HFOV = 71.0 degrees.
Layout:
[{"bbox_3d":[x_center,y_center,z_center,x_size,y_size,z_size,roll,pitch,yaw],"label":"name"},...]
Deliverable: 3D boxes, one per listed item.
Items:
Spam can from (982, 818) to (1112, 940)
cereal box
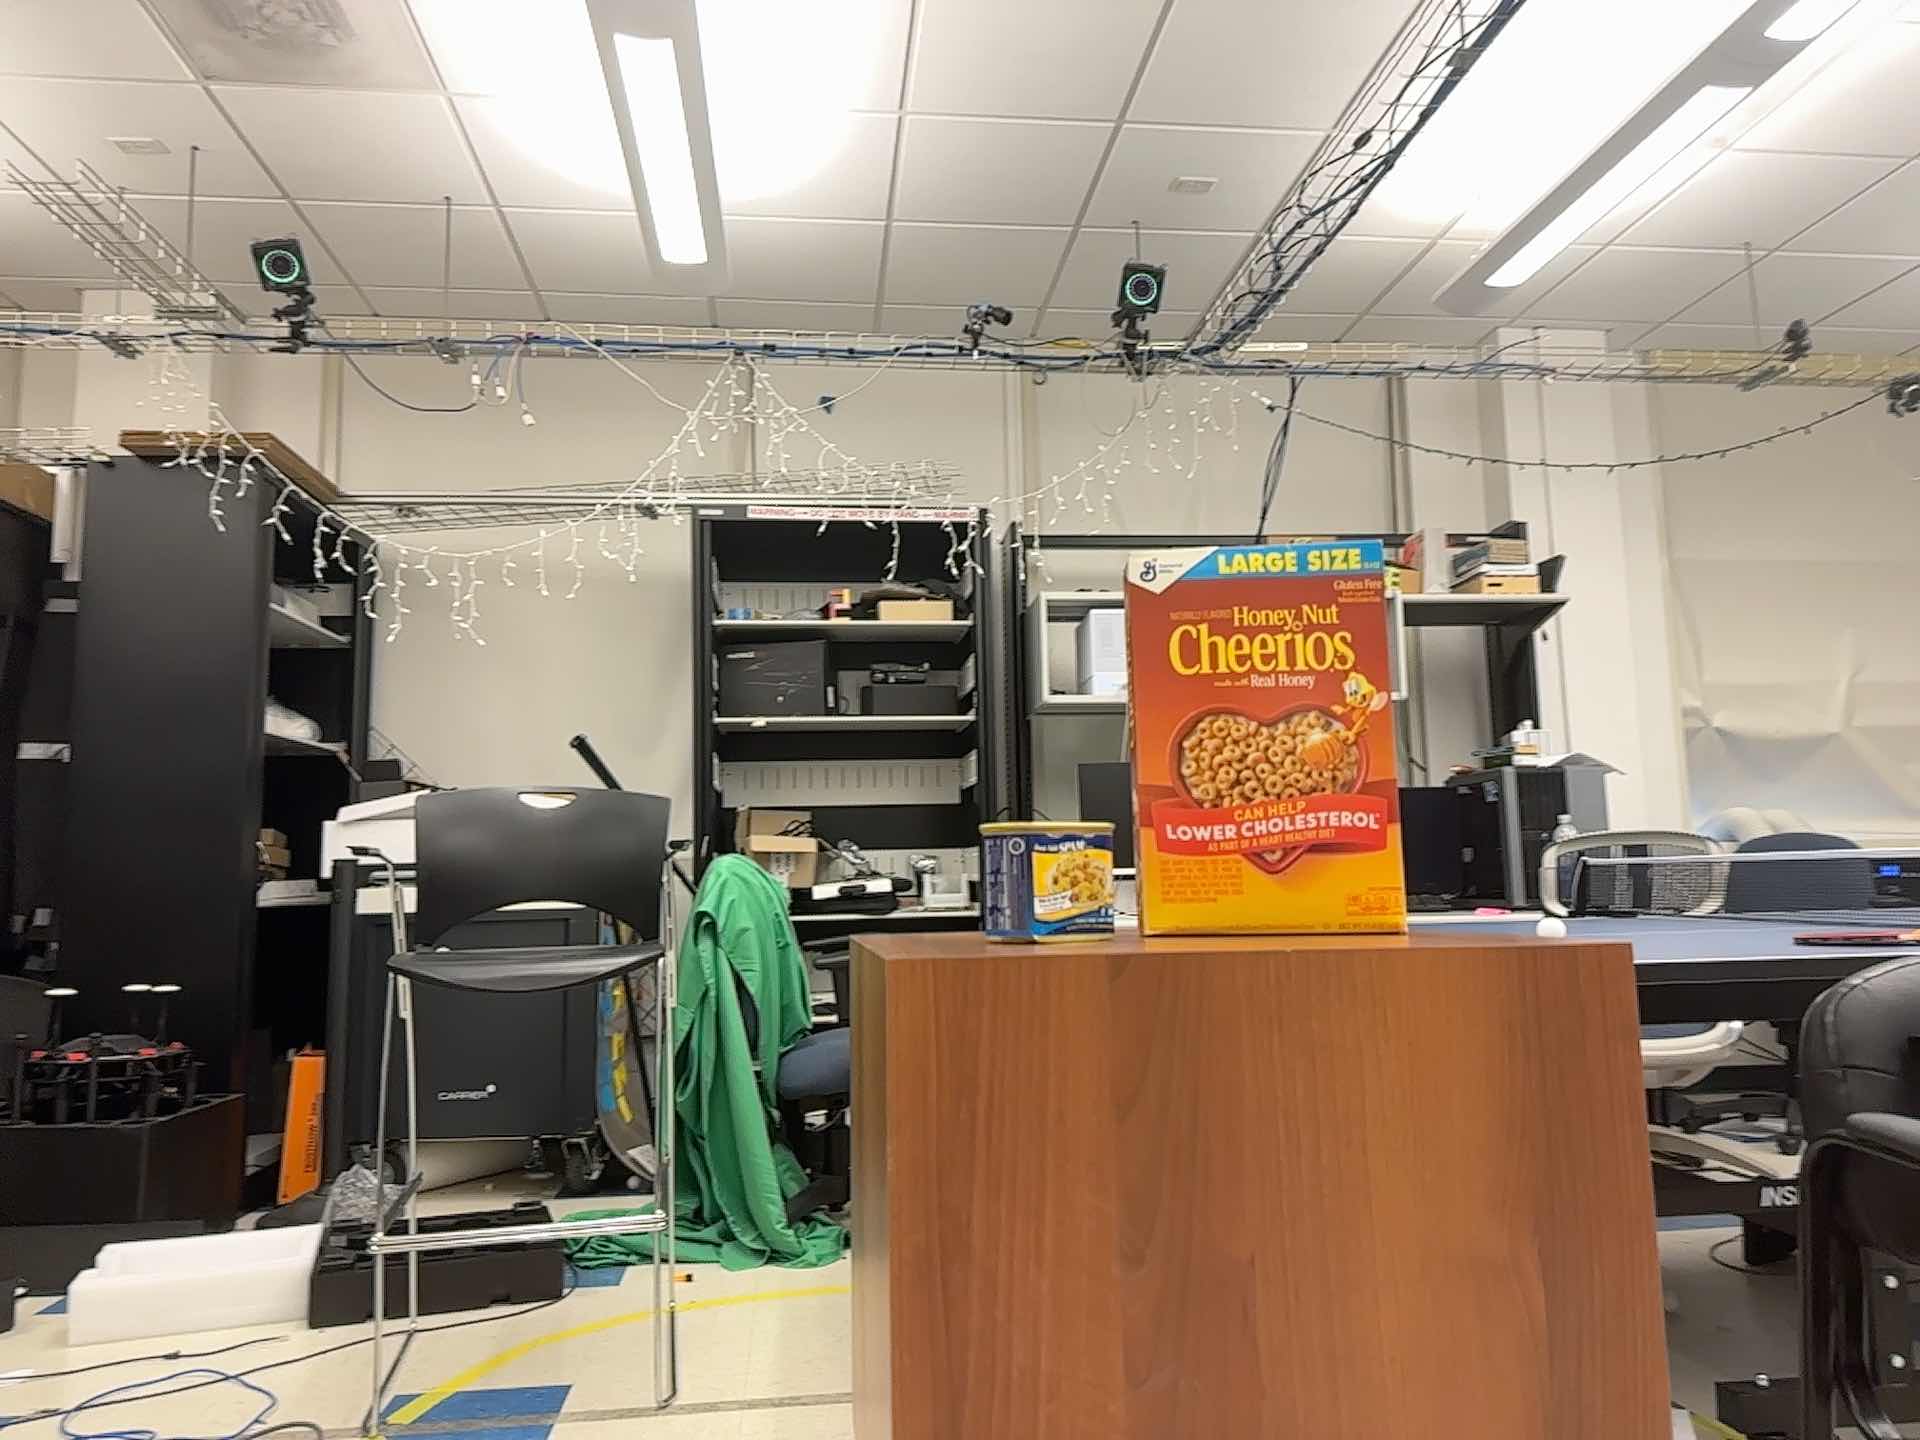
[{"bbox_3d":[0.065,0.116,0.980,0.100,0.083,0.056,7,-12,-44],"label":"Spam can"},{"bbox_3d":[0.239,0.017,1.084,0.195,0.297,0.065,0,-9,2],"label":"cereal box"}]
